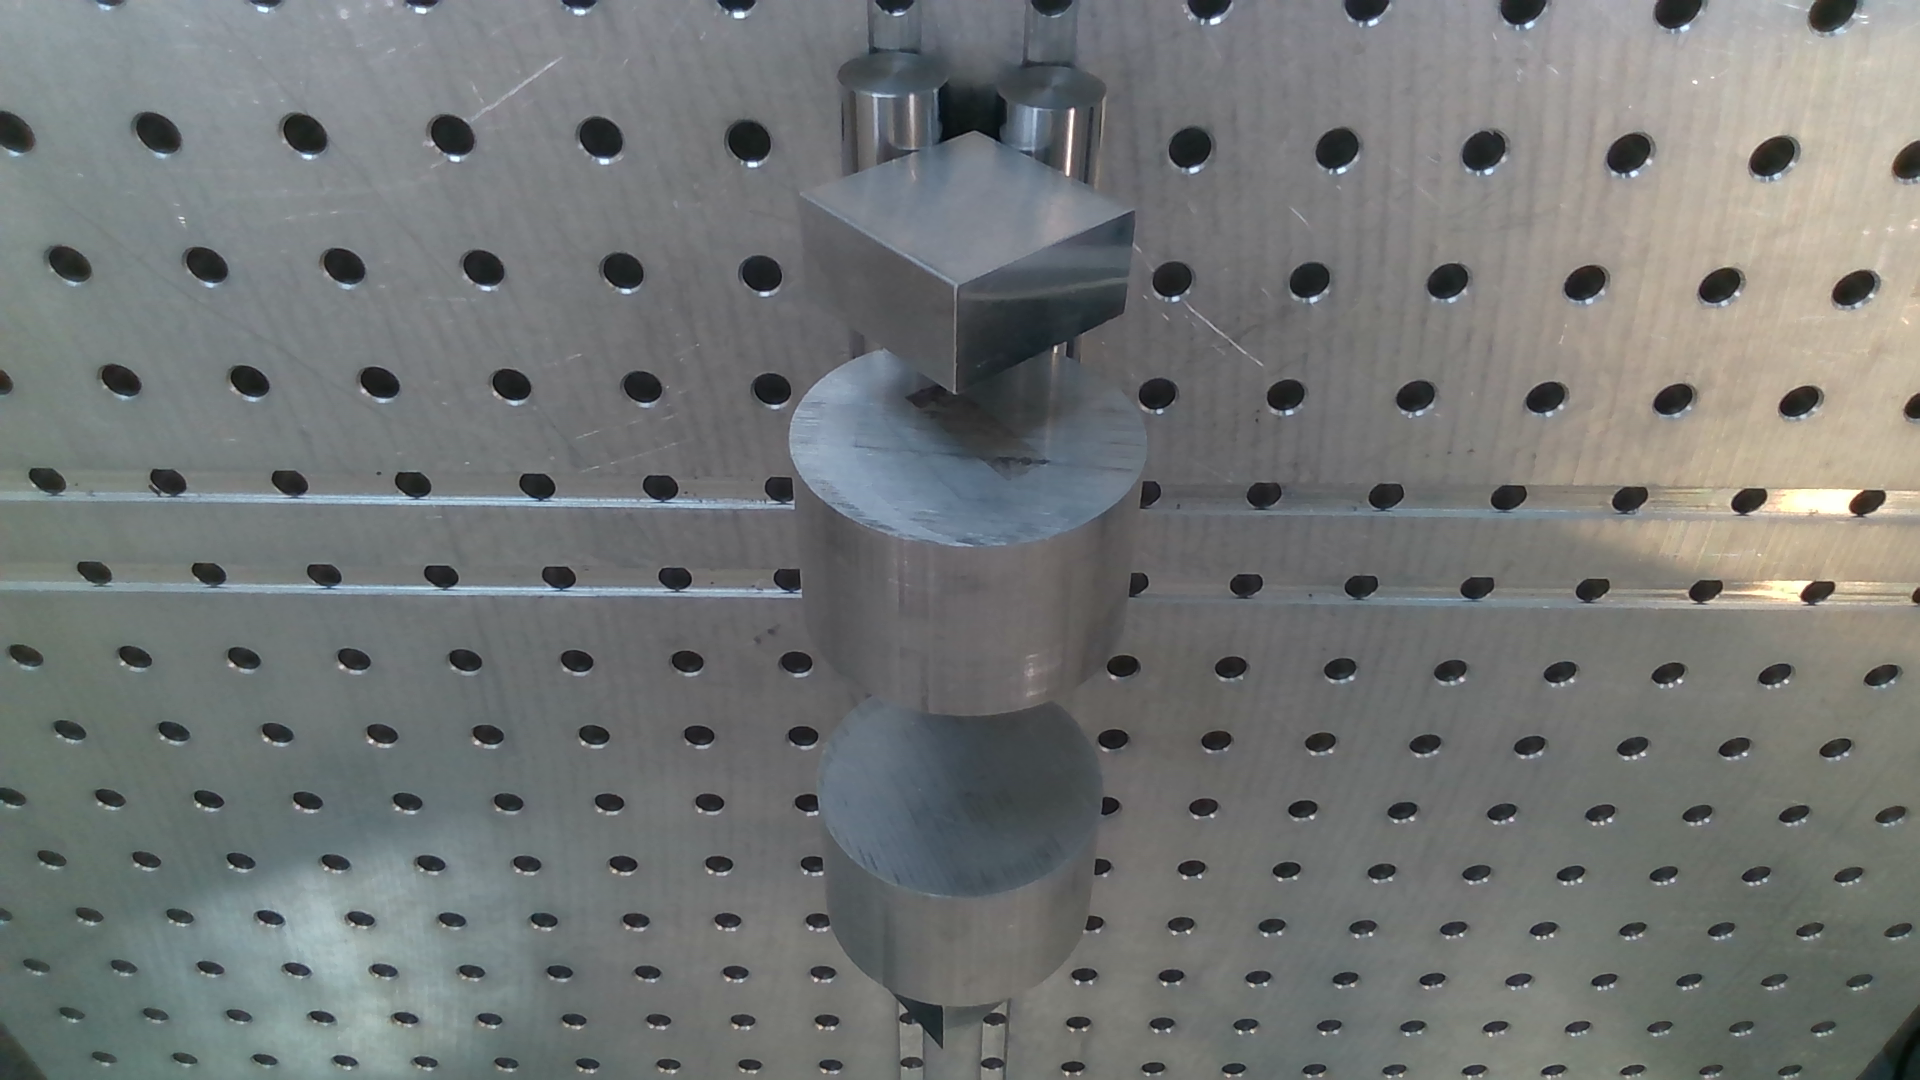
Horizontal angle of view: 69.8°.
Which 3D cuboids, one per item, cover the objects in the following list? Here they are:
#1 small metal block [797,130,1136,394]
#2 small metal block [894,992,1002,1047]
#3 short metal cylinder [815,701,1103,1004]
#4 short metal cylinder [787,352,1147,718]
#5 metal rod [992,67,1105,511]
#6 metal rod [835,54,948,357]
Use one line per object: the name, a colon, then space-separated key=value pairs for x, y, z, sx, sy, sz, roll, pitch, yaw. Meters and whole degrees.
small metal block: x=0.001 y=-0.061 z=0.295 sx=0.050 sy=0.050 sz=0.025 roll=-30 pitch=139 yaw=-31
small metal block: x=-0.003 y=0.128 z=0.454 sx=0.050 sy=0.050 sz=0.025 roll=-29 pitch=138 yaw=-31
short metal cylinder: x=-0.001 y=0.085 z=0.399 sx=0.080 sy=0.080 sz=0.050 roll=1 pitch=130 yaw=0
short metal cylinder: x=0.001 y=-0.005 z=0.323 sx=0.080 sy=0.080 sz=0.050 roll=1 pitch=130 yaw=0
metal rod: x=0.018 y=0.014 z=0.404 sx=0.025 sy=0.025 sz=0.301 roll=1 pitch=130 yaw=-1
metal rod: x=-0.017 y=0.012 z=0.402 sx=0.025 sy=0.025 sz=0.301 roll=1 pitch=130 yaw=-1
